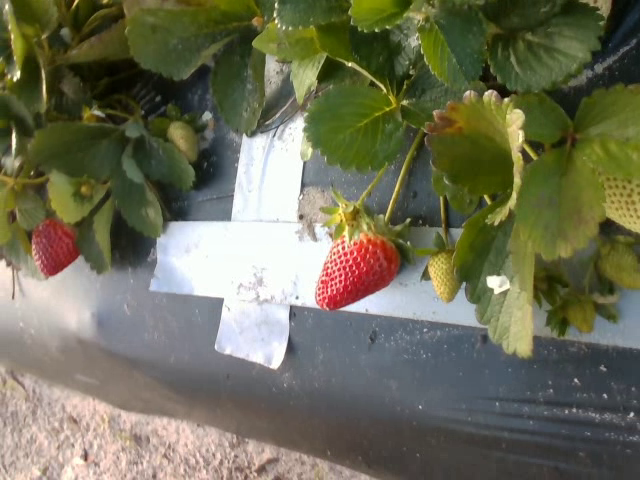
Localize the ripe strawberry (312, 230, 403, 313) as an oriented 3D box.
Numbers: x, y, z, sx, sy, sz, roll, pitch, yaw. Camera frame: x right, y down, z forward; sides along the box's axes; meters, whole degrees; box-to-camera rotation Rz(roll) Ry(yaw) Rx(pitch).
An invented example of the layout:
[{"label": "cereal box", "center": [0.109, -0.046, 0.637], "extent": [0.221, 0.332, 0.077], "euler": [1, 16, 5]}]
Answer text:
[{"label": "ripe strawberry", "center": [0.008, 0.009, 0.146], "extent": [0.020, 0.026, 0.023], "euler": [37, -6, -38]}]

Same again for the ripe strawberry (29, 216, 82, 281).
[{"label": "ripe strawberry", "center": [-0.094, 0.004, 0.208], "extent": [0.020, 0.023, 0.018], "euler": [15, -10, -37]}]
